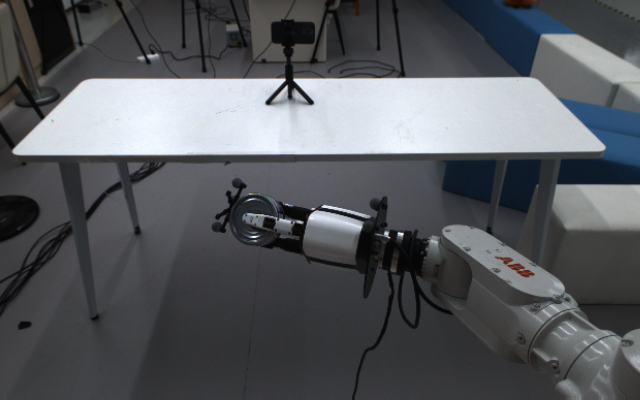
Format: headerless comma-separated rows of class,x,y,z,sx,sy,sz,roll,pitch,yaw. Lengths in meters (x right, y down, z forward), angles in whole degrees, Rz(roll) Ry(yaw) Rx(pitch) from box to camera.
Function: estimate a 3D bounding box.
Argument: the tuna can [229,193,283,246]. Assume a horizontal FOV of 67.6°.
tuna can,-0.101,0.030,0.780,0.085,0.085,0.034,12,-3,14
